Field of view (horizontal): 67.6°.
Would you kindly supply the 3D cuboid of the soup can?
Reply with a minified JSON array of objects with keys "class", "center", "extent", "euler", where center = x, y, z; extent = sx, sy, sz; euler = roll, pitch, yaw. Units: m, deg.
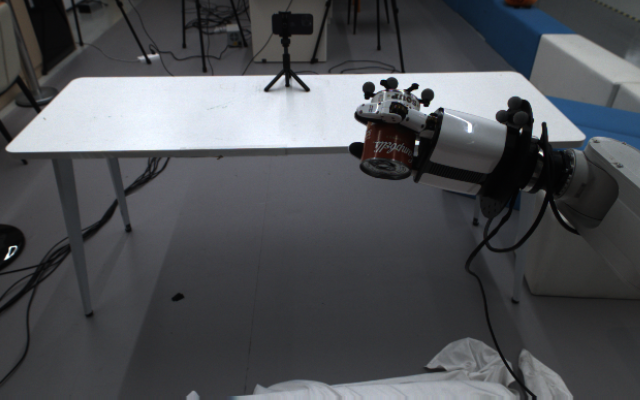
[{"class":"soup can","center":[0.095,-0.086,0.637],"extent":[0.067,0.067,0.101],"euler":[8,72,9]}]
